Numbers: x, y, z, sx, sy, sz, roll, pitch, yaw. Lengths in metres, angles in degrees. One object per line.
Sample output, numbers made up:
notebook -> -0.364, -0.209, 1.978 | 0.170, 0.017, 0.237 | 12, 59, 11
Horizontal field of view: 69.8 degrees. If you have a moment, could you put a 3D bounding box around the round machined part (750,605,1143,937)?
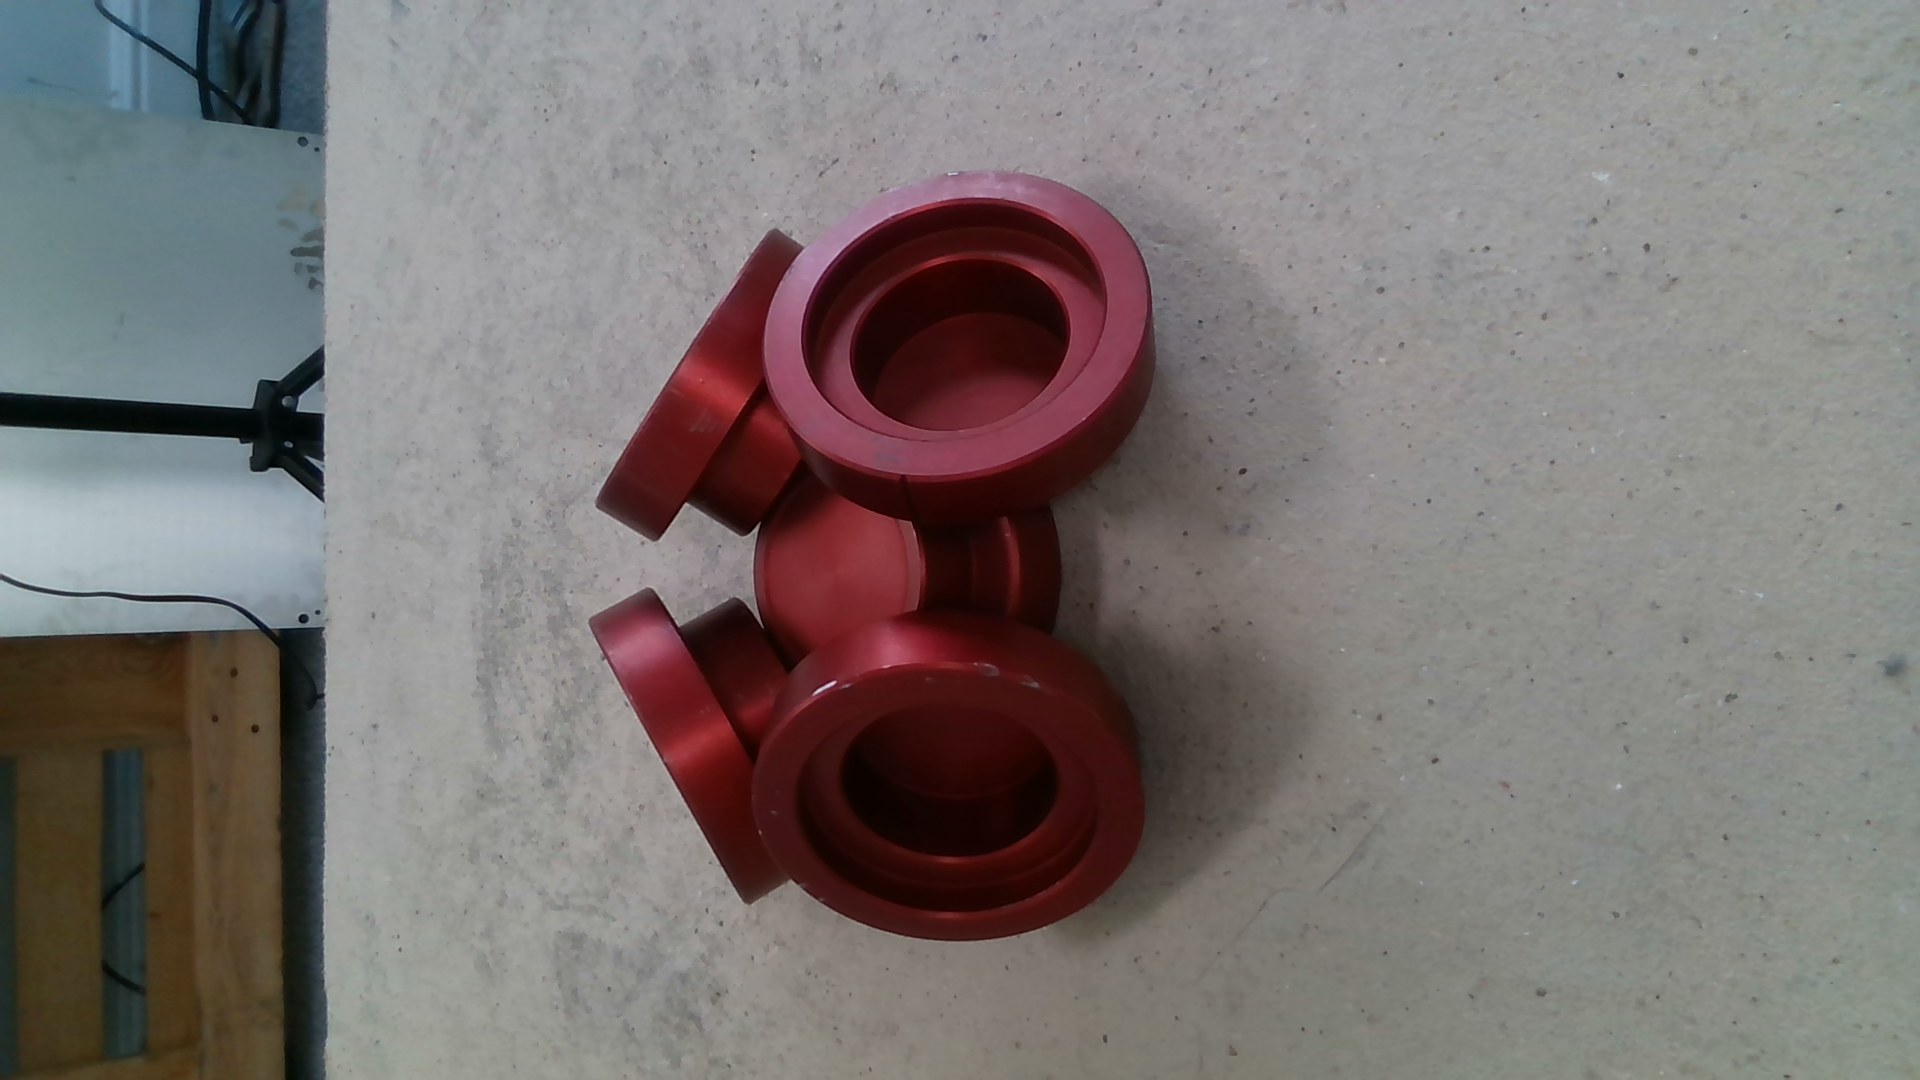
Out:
round machined part -> -0.003, 0.056, 0.360 | 0.098, 0.098, 0.042 | -48, 21, 30

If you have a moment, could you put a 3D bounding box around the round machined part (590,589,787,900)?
round machined part -> -0.070, 0.057, 0.419 | 0.098, 0.042, 0.098 | 55, 165, 22

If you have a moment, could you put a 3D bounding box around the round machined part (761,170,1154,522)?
round machined part -> 0.001, -0.046, 0.357 | 0.098, 0.042, 0.098 | -5, 59, 8

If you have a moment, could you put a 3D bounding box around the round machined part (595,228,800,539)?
round machined part -> -0.065, -0.040, 0.411 | 0.042, 0.098, 0.098 | 32, 119, -12

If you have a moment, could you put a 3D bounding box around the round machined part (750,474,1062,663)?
round machined part -> -0.022, 0.009, 0.399 | 0.098, 0.042, 0.098 | 1, 92, 38
